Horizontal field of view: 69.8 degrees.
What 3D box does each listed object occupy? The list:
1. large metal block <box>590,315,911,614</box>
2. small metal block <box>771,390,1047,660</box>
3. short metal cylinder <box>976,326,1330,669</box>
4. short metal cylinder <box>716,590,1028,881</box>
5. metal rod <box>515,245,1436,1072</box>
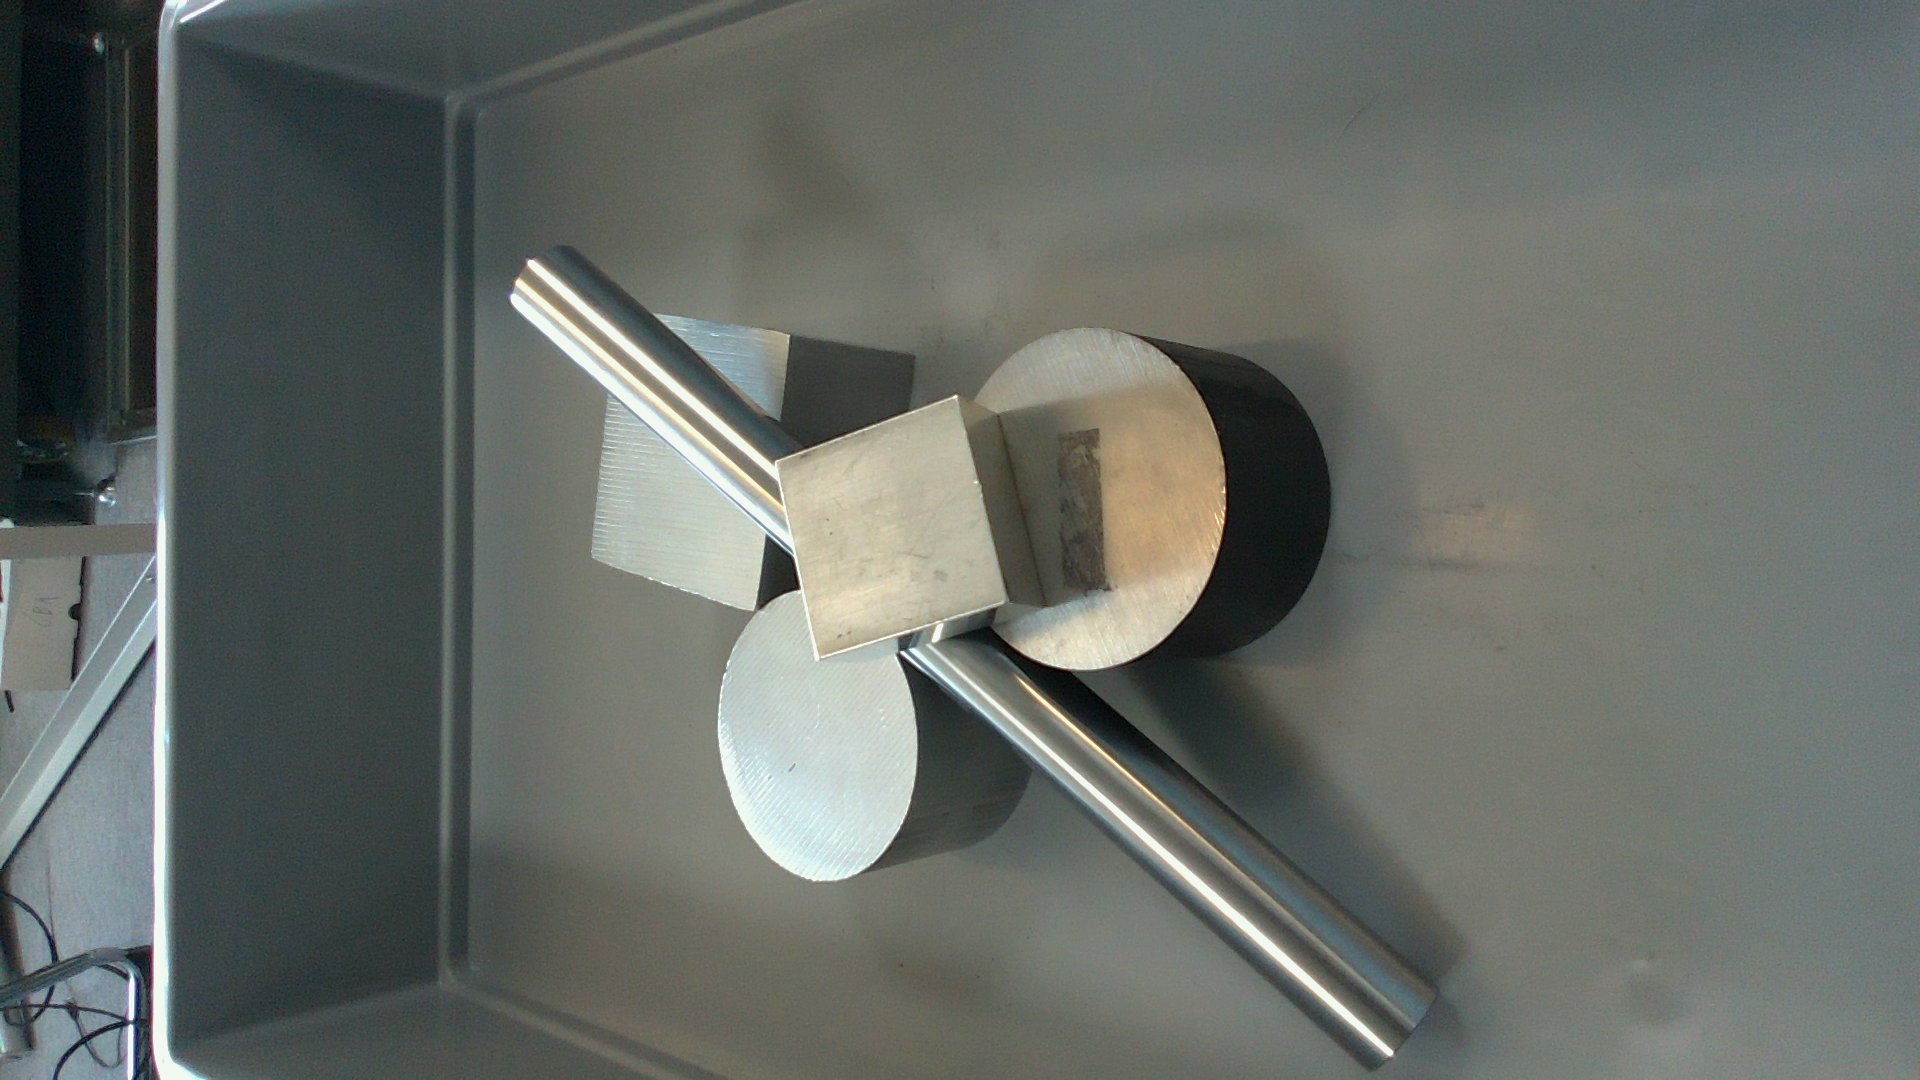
[{"bbox_3d":[-0.067,-0.026,0.431,0.080,0.050,0.080,14,99,39],"label":"large metal block"},{"bbox_3d":[-0.012,-0.002,0.329,0.050,0.025,0.050,-18,77,20],"label":"small metal block"},{"bbox_3d":[0.043,-0.010,0.341,0.080,0.050,0.080,0,90,40],"label":"short metal cylinder"},{"bbox_3d":[-0.025,0.053,0.398,0.080,0.050,0.080,0,90,40],"label":"short metal cylinder"},{"bbox_3d":[-0.010,0.018,0.355,0.299,0.025,0.025,40,116,17],"label":"metal rod"}]
